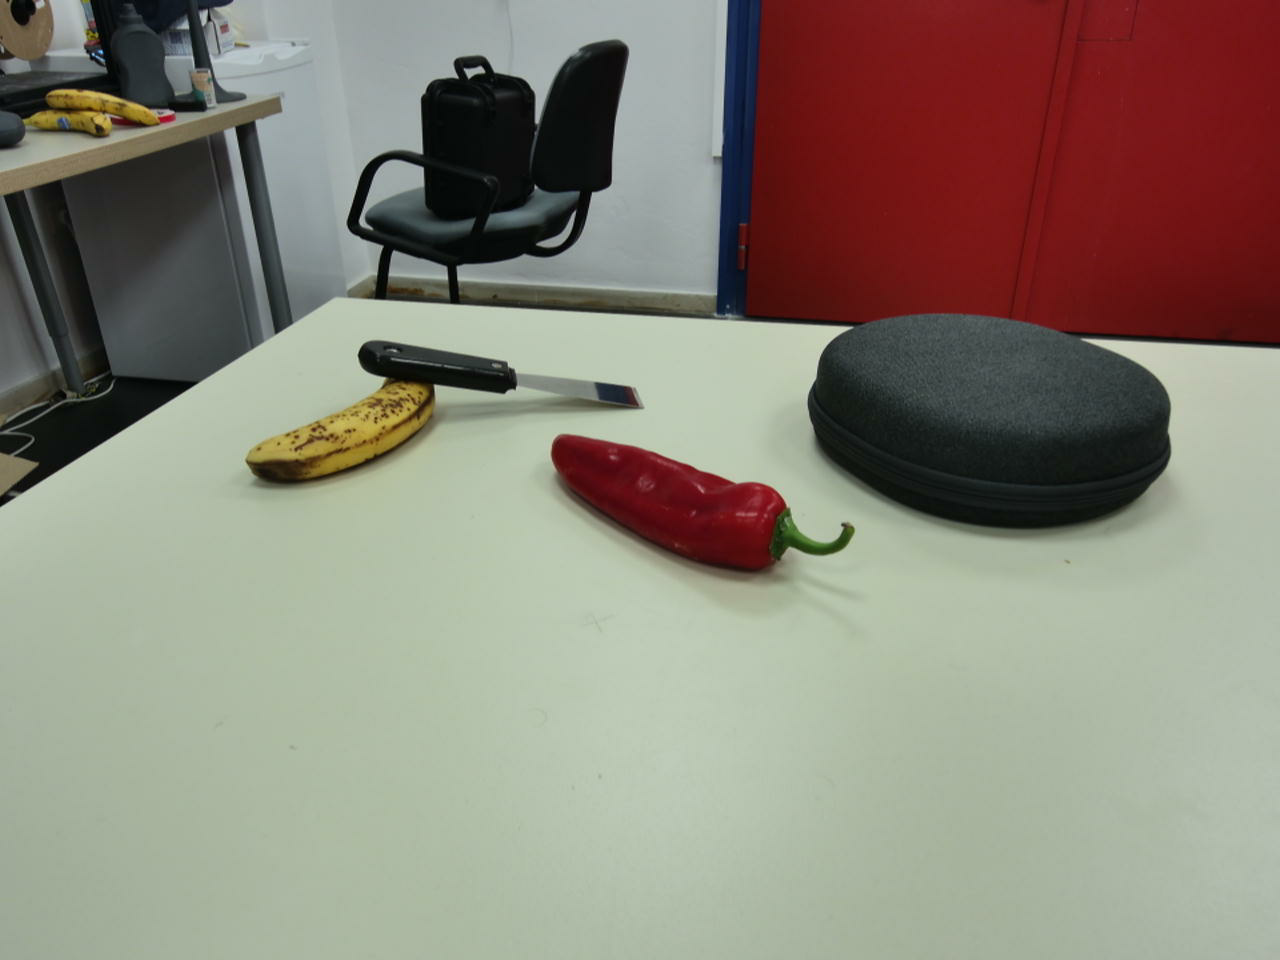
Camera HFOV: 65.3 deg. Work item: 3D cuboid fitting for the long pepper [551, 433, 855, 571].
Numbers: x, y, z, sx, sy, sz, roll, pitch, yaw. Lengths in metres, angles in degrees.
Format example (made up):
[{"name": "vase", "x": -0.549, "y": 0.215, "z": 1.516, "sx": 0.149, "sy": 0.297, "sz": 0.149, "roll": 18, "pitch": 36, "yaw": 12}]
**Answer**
[{"name": "long pepper", "x": 0.018, "y": 0.009, "z": 0.538, "sx": 0.211, "sy": 0.043, "sz": 0.050, "roll": 23, "pitch": 34, "yaw": 39}]
